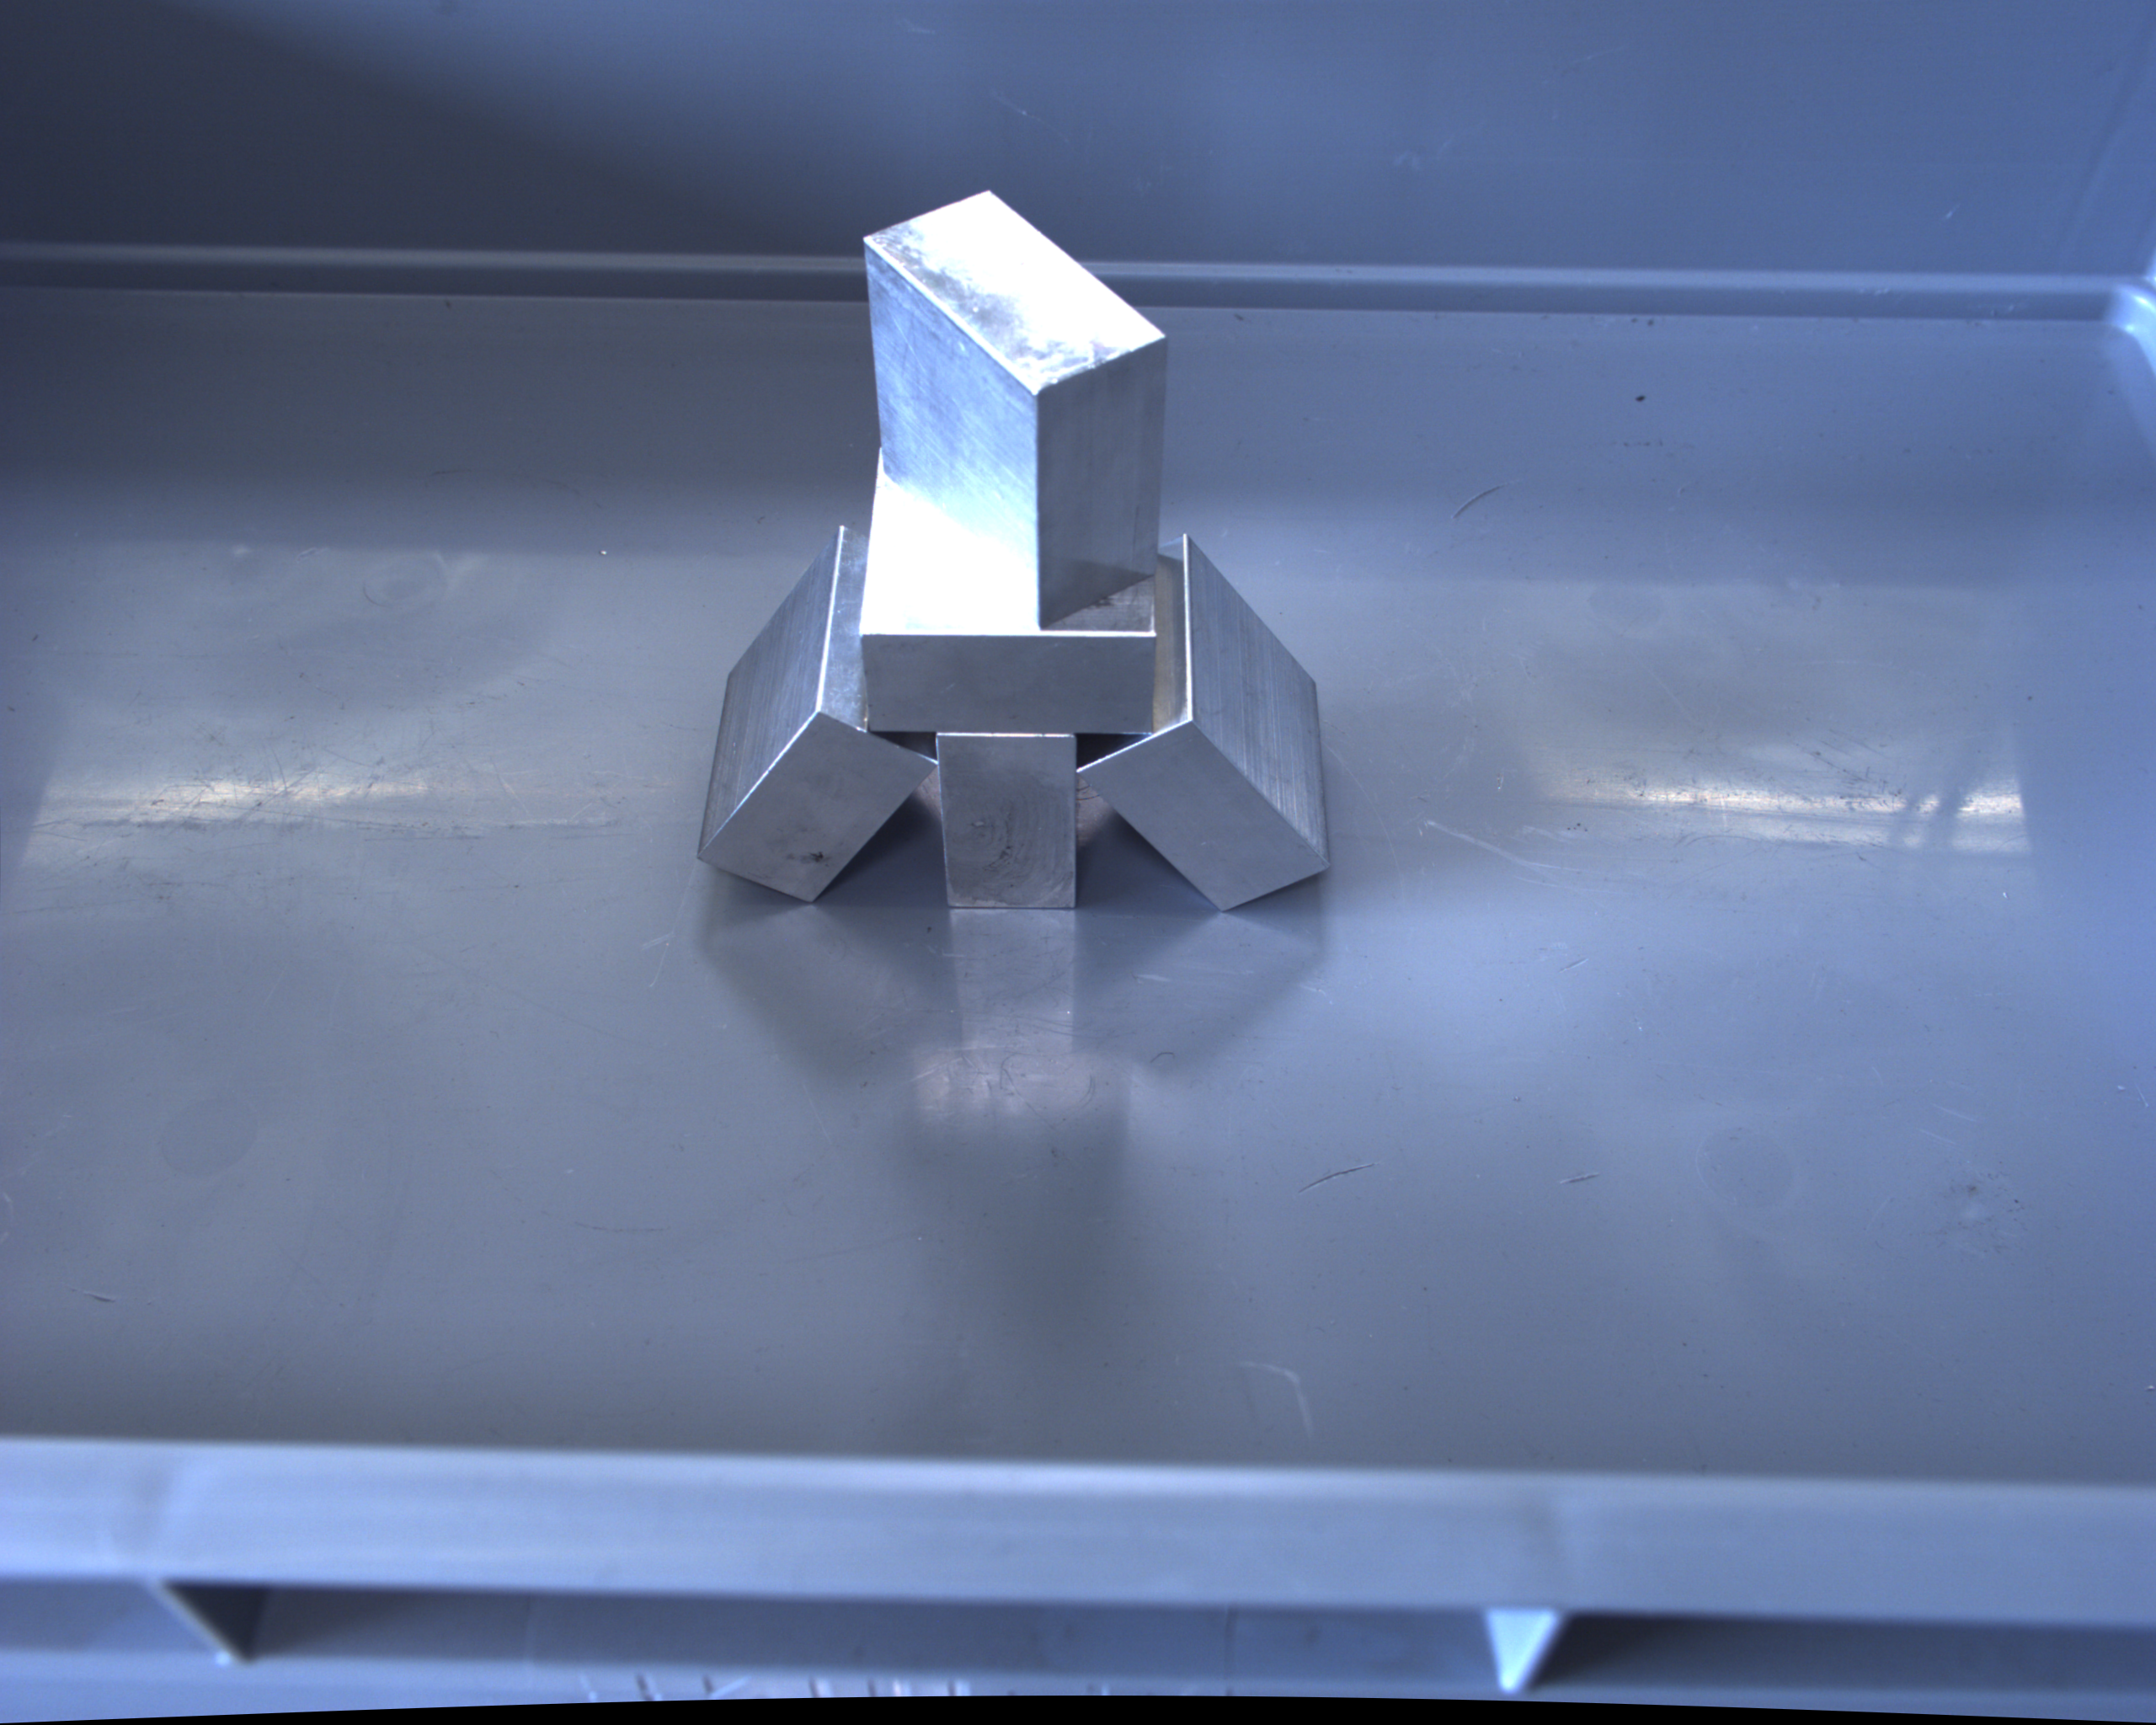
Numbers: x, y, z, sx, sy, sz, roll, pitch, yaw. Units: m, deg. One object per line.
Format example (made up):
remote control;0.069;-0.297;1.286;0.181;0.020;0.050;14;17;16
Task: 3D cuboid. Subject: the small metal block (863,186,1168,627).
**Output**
small metal block;-0.010;-0.077;0.353;0.025;0.050;0.050;-29;56;-21

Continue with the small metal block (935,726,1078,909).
small metal block;-0.013;-0.026;0.408;0.025;0.050;0.050;1;50;1

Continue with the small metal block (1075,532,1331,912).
small metal block;0.024;-0.027;0.406;0.025;0.050;0.050;-23;44;26

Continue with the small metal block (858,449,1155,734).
small metal block;-0.012;-0.050;0.379;0.050;0.025;0.050;1;50;0

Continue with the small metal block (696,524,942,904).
small metal block;-0.049;-0.028;0.406;0.025;0.050;0.050;24;45;-25
